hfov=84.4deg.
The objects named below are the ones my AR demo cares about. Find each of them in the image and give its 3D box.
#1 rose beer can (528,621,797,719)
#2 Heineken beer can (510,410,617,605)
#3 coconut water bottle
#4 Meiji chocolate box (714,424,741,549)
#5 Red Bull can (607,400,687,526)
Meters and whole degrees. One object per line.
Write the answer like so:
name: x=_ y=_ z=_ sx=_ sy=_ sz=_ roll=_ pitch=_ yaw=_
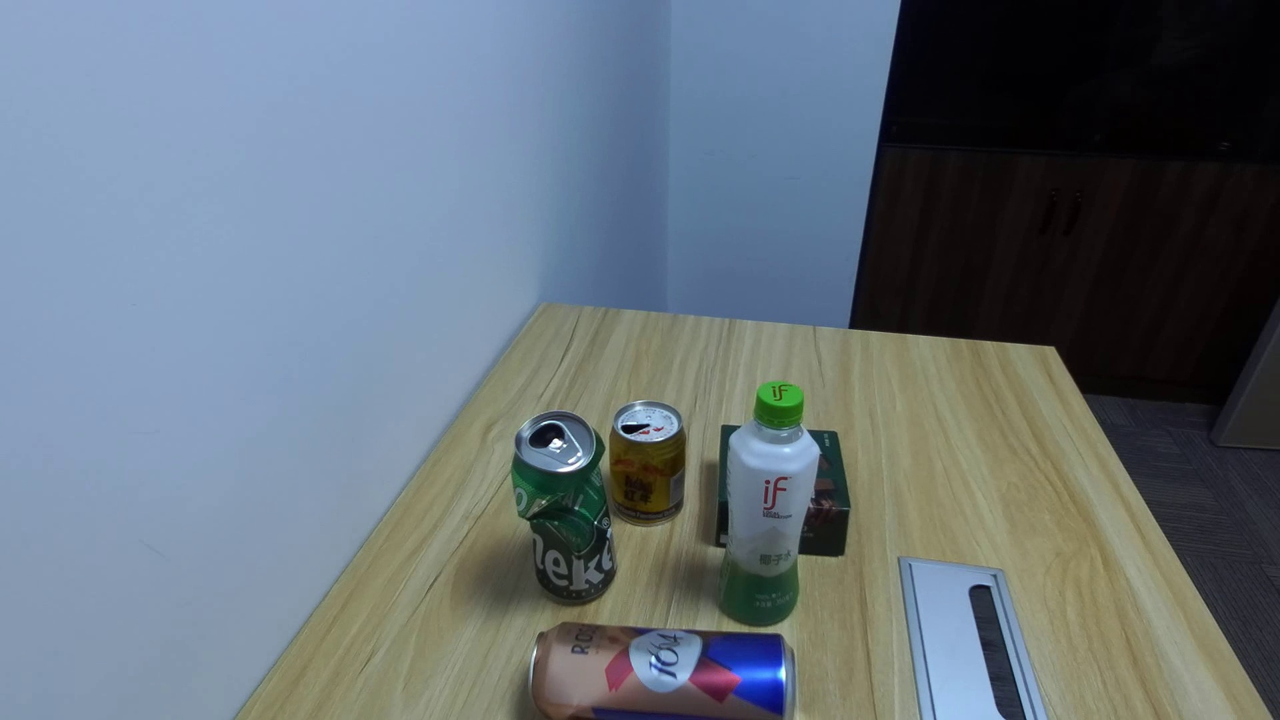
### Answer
rose beer can: x=0.015 y=0.203 z=0.454 sx=0.168 sy=0.069 sz=0.070 roll=2 pitch=50 yaw=7
Heineken beer can: x=-0.055 y=0.111 z=0.530 sx=0.067 sy=0.159 sz=0.078 roll=-11 pitch=38 yaw=-11
coconut water bottle: x=0.091 y=0.102 z=0.502 sx=0.063 sy=0.189 sz=0.063 roll=0 pitch=30 yaw=0
Meiji chocolate box: x=0.122 y=0.111 z=0.622 sx=0.109 sy=0.056 sz=0.110 roll=3 pitch=30 yaw=6
Red Bull can: x=0.007 y=0.089 z=0.617 sx=0.069 sy=0.092 sz=0.069 roll=0 pitch=31 yaw=0
